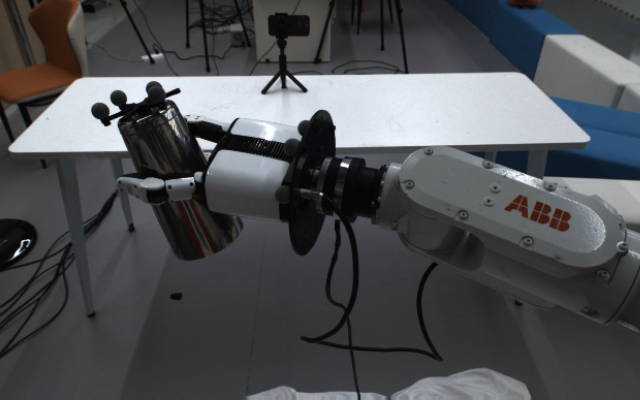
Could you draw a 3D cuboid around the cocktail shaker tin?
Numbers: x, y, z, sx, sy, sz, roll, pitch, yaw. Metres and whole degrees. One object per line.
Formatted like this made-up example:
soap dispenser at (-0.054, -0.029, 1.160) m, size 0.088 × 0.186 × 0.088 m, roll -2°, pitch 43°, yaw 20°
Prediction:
cocktail shaker tin at (-0.163, -0.024, 0.563) m, size 0.093 × 0.170 × 0.093 m, roll -15°, pitch 29°, yaw 8°
